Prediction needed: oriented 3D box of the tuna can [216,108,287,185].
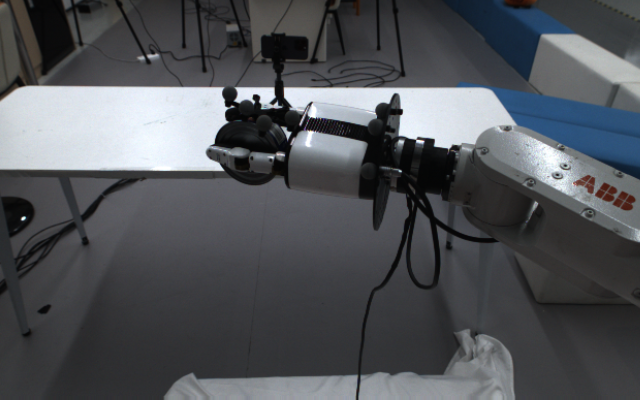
[{"bbox_3d":[-0.081,-0.063,0.590,0.085,0.085,0.034,12,33,14],"label":"tuna can"}]
